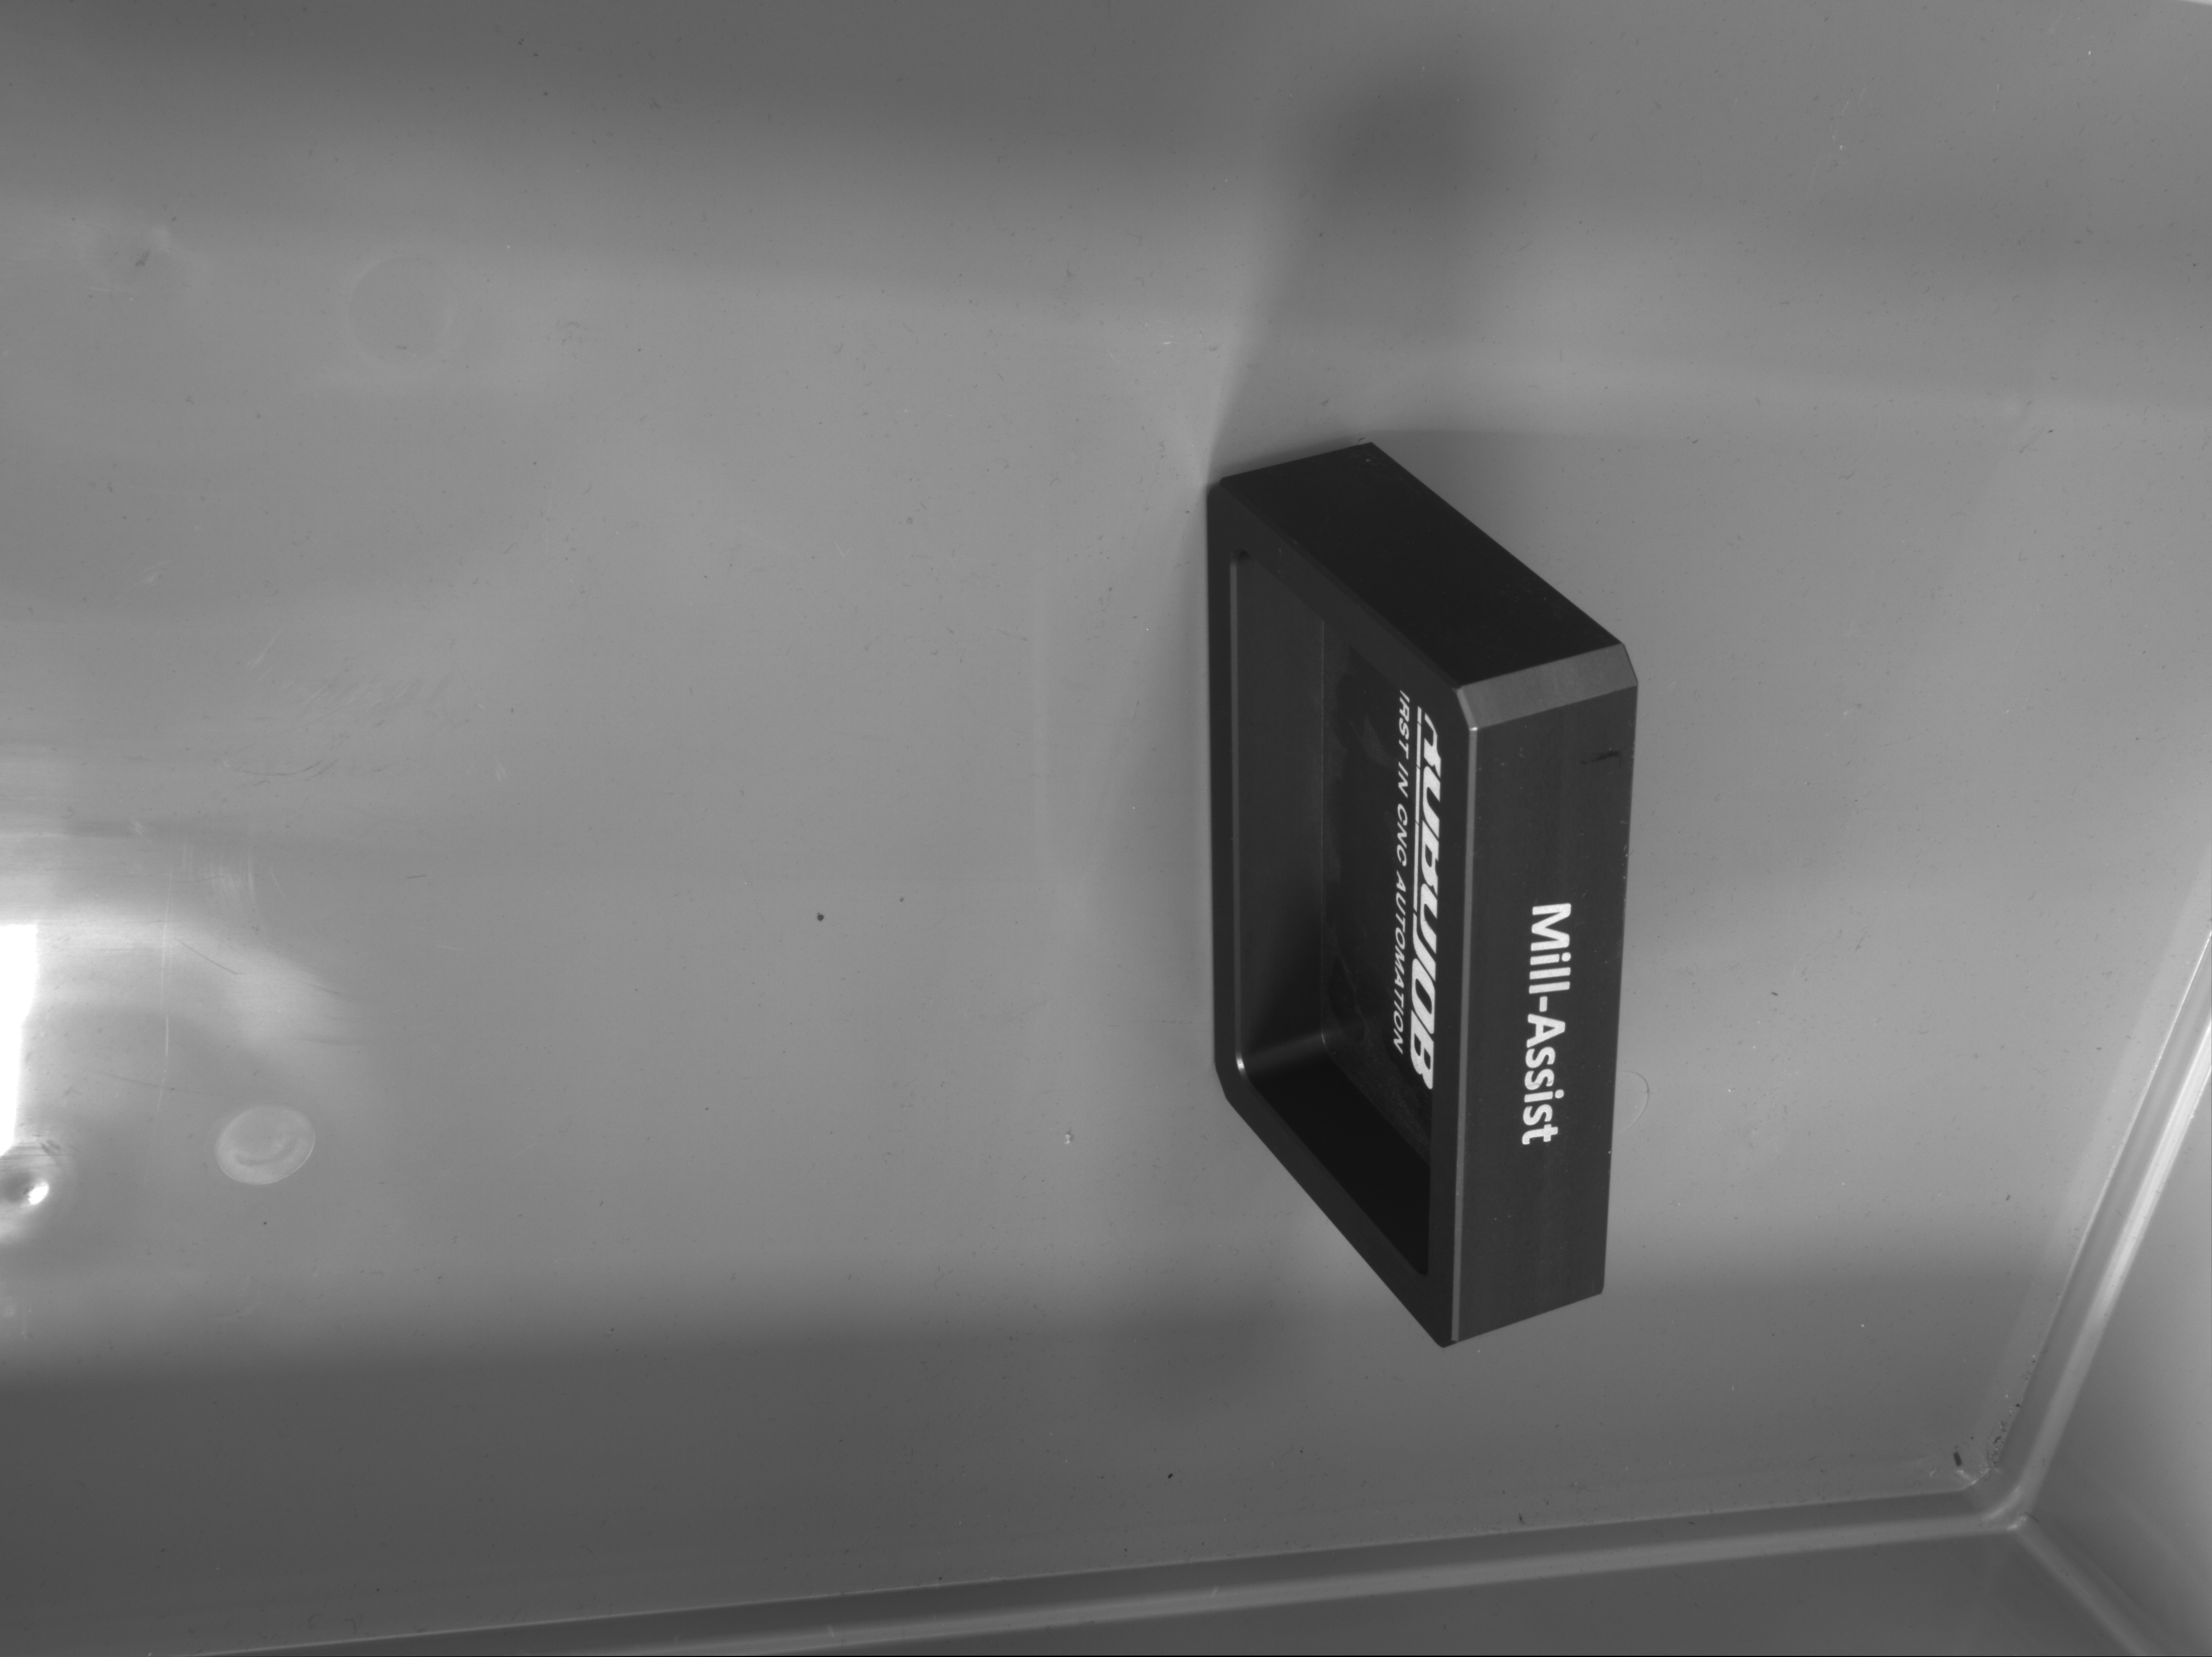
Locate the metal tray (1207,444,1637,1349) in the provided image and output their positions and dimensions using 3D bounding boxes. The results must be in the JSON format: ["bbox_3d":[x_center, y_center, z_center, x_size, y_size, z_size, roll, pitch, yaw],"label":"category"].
[{"bbox_3d":[0.051,0.011,0.627,0.030,0.090,0.130,-15,125,-21],"label":"metal tray"}]
